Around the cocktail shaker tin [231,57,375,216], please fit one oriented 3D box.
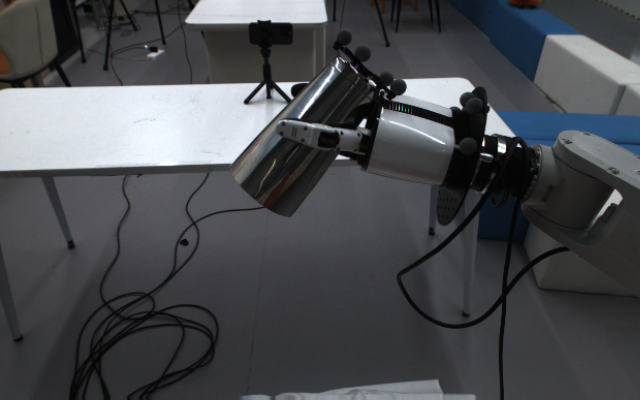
[{"bbox_3d":[-0.011,-0.078,0.545,0.093,0.170,0.093,41,12,-11],"label":"cocktail shaker tin"}]
